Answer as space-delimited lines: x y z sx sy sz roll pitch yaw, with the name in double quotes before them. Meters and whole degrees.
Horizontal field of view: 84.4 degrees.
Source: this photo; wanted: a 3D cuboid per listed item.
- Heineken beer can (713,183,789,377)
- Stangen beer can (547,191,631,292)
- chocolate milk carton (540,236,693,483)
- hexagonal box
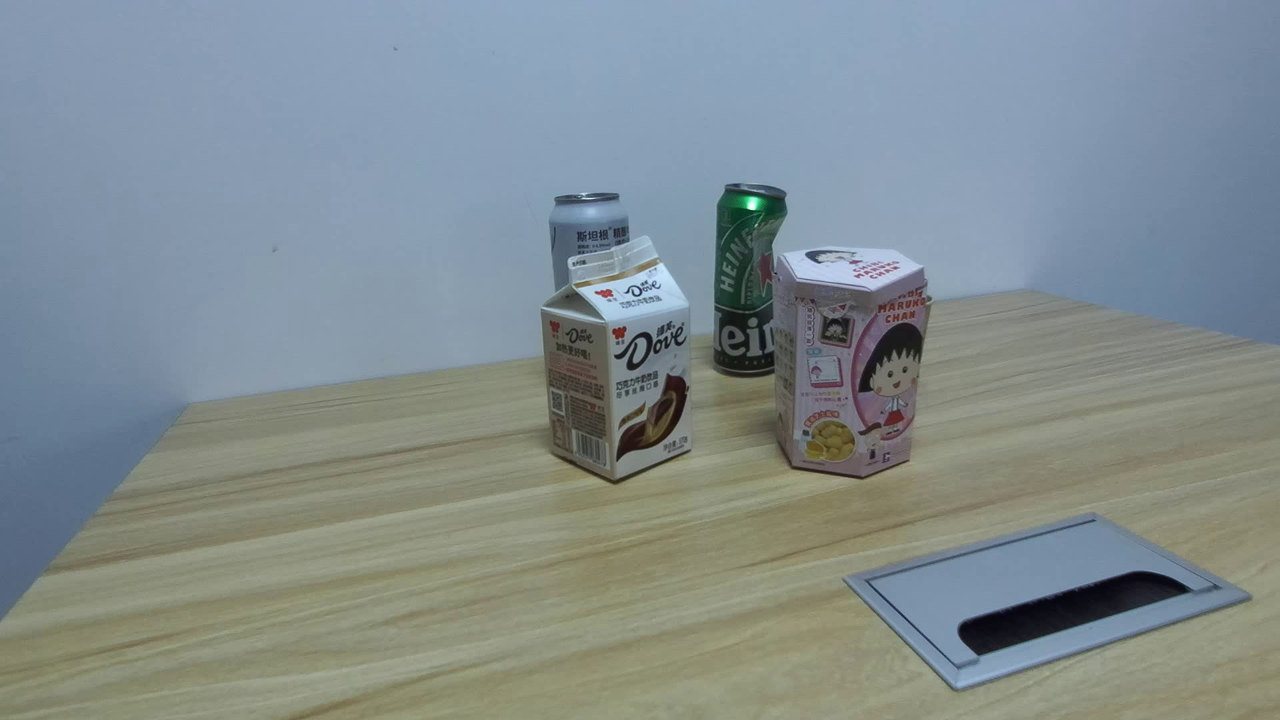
"Heineken beer can" 0.101 -0.071 0.639 0.068 0.168 0.069 -5 17 -21
"Stangen beer can" -0.040 -0.057 0.610 0.067 0.171 0.067 -3 16 1
"chocolate milk carton" -0.015 -0.006 0.480 0.076 0.148 0.073 -16 22 -39
"hexagonal box" 0.135 -0.001 0.468 0.092 0.135 0.084 -12 21 -28
